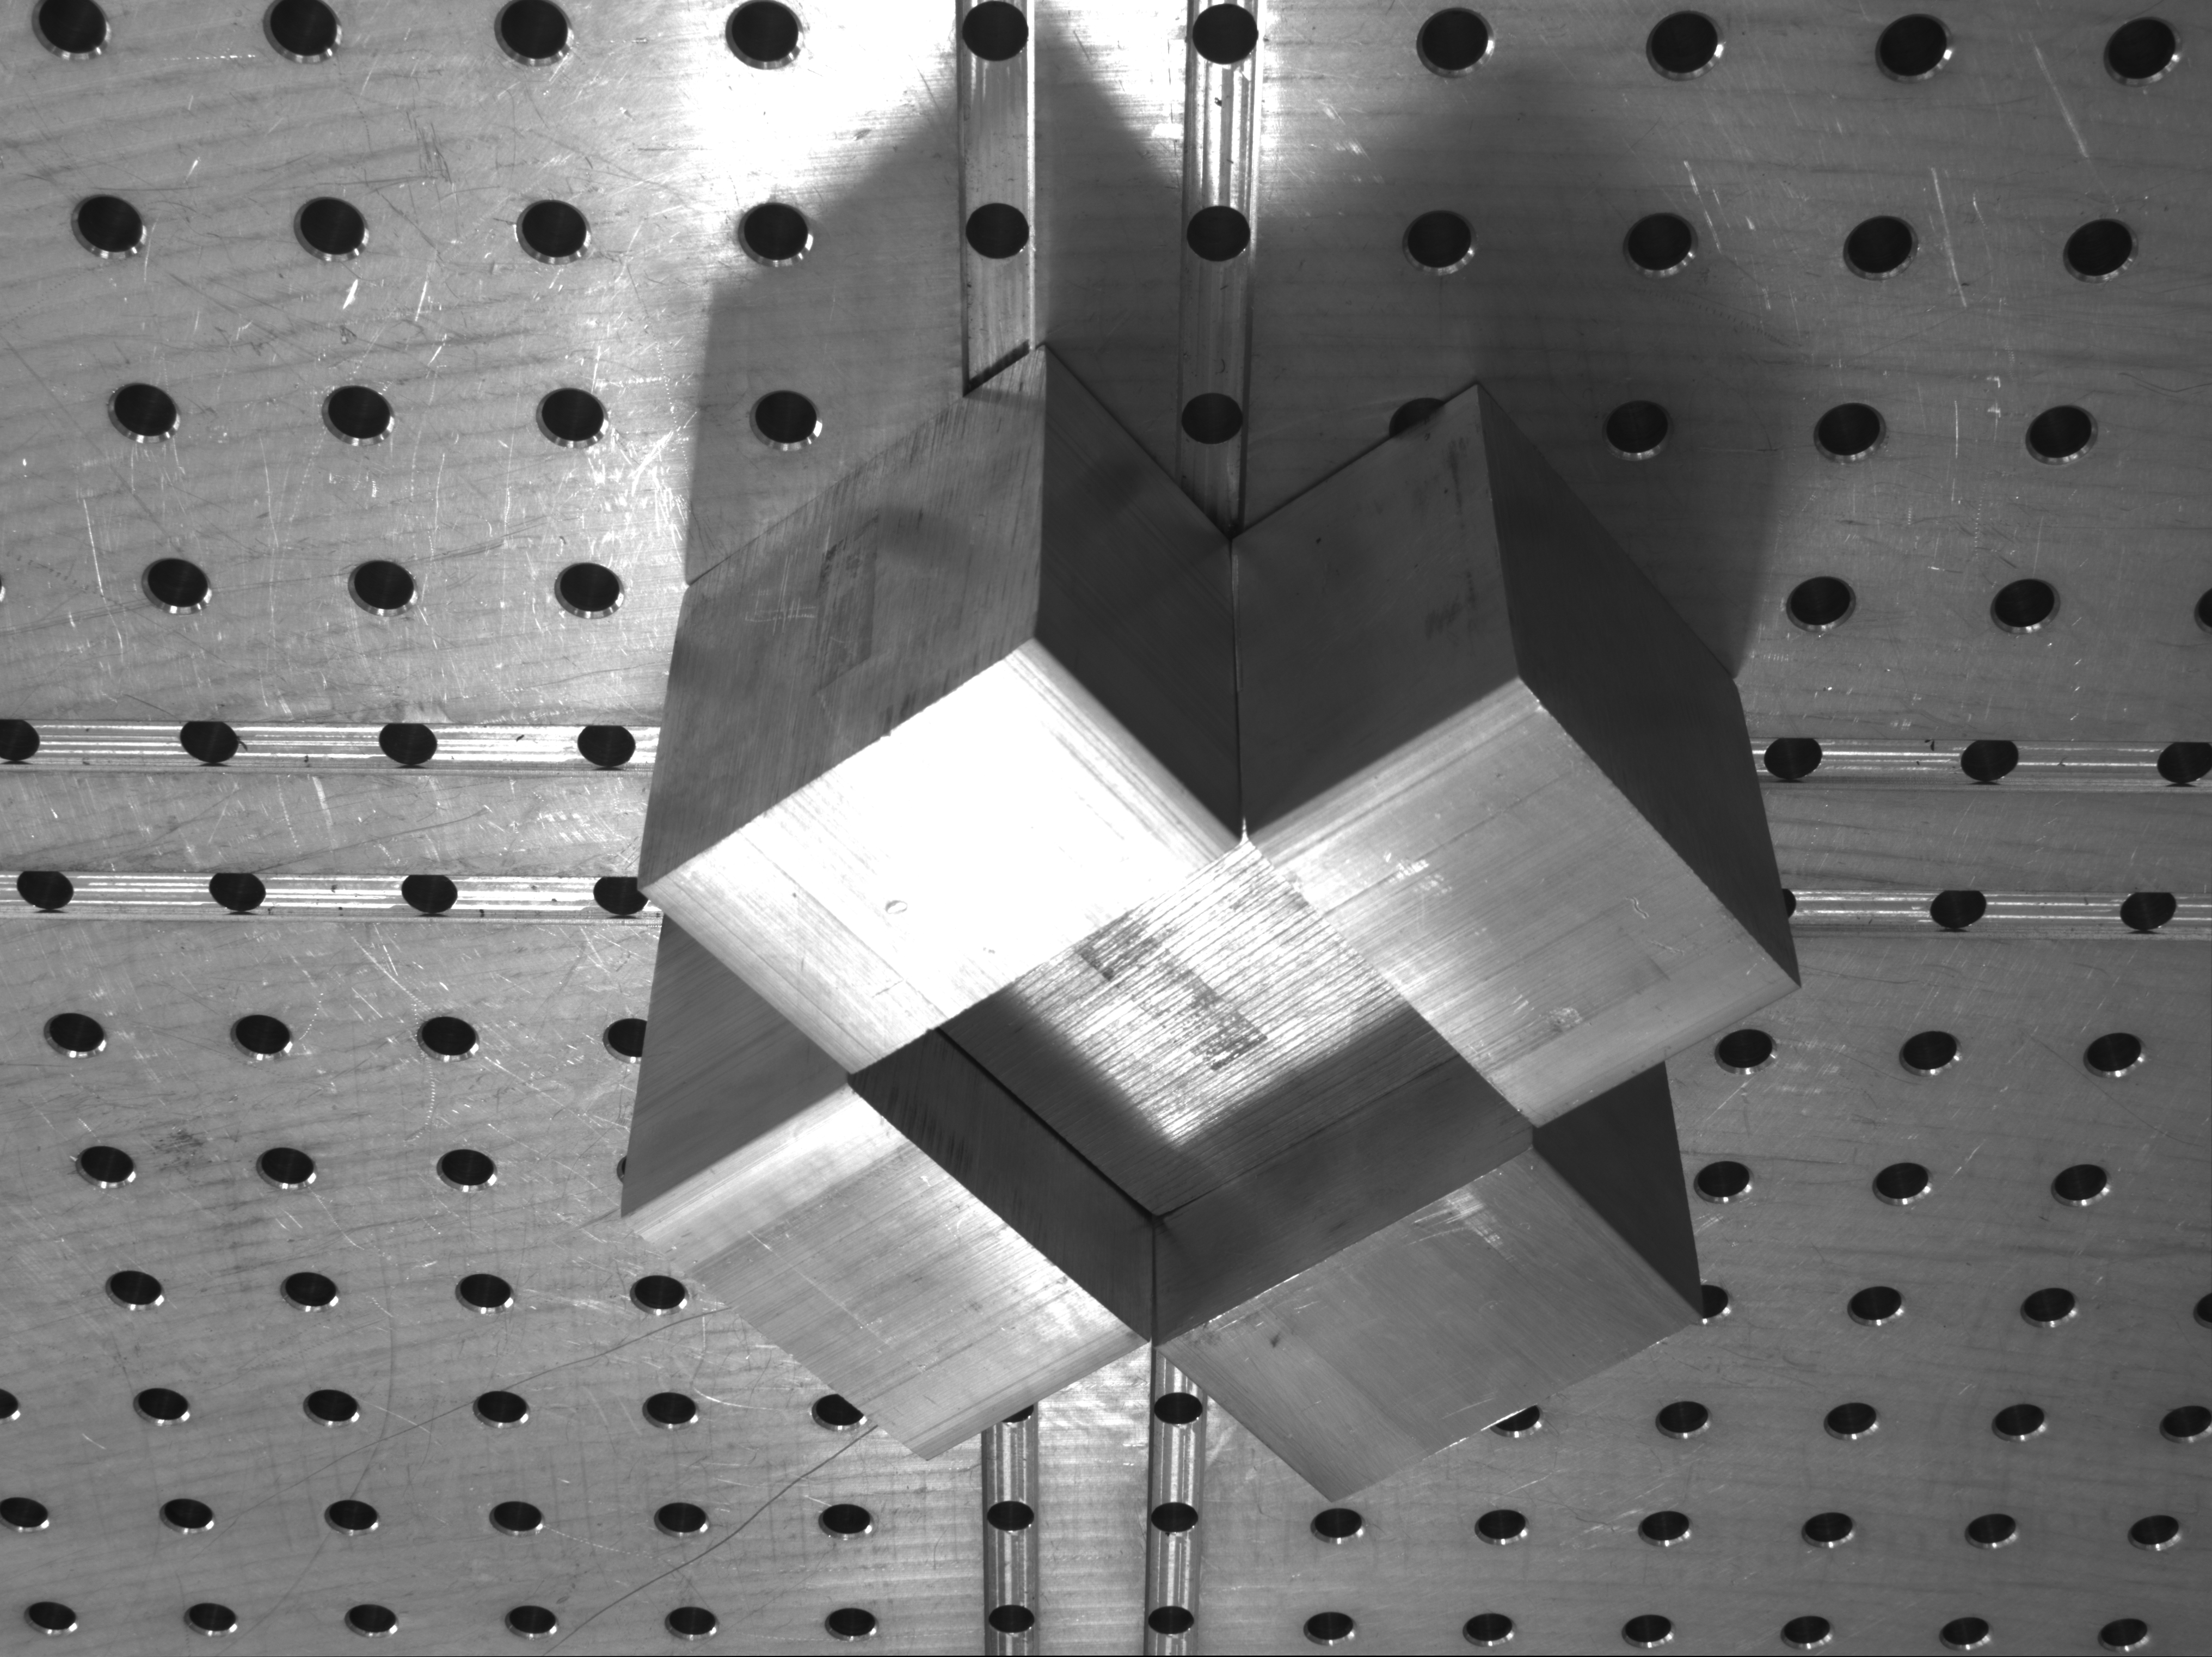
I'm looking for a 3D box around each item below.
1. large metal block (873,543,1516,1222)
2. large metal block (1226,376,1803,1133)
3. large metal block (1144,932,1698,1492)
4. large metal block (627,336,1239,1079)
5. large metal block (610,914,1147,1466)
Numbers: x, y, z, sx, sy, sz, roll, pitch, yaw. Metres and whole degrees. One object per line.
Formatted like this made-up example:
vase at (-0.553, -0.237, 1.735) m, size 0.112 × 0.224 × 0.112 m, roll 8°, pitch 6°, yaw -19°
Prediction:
large metal block at (0.015, 0.011, 0.634) m, size 0.080 × 0.050 × 0.080 m, roll -30°, pitch 122°, yaw 25°
large metal block at (0.065, -0.012, 0.597) m, size 0.050 × 0.080 × 0.080 m, roll -32°, pitch 123°, yaw 24°
large metal block at (0.054, 0.059, 0.658) m, size 0.080 × 0.080 × 0.050 m, roll -30°, pitch 124°, yaw 23°
large metal block at (-0.027, -0.020, 0.591) m, size 0.080 × 0.080 × 0.050 m, roll -32°, pitch 123°, yaw 24°
large metal block at (-0.038, 0.051, 0.650) m, size 0.050 × 0.080 × 0.080 m, roll -32°, pitch 124°, yaw 24°
